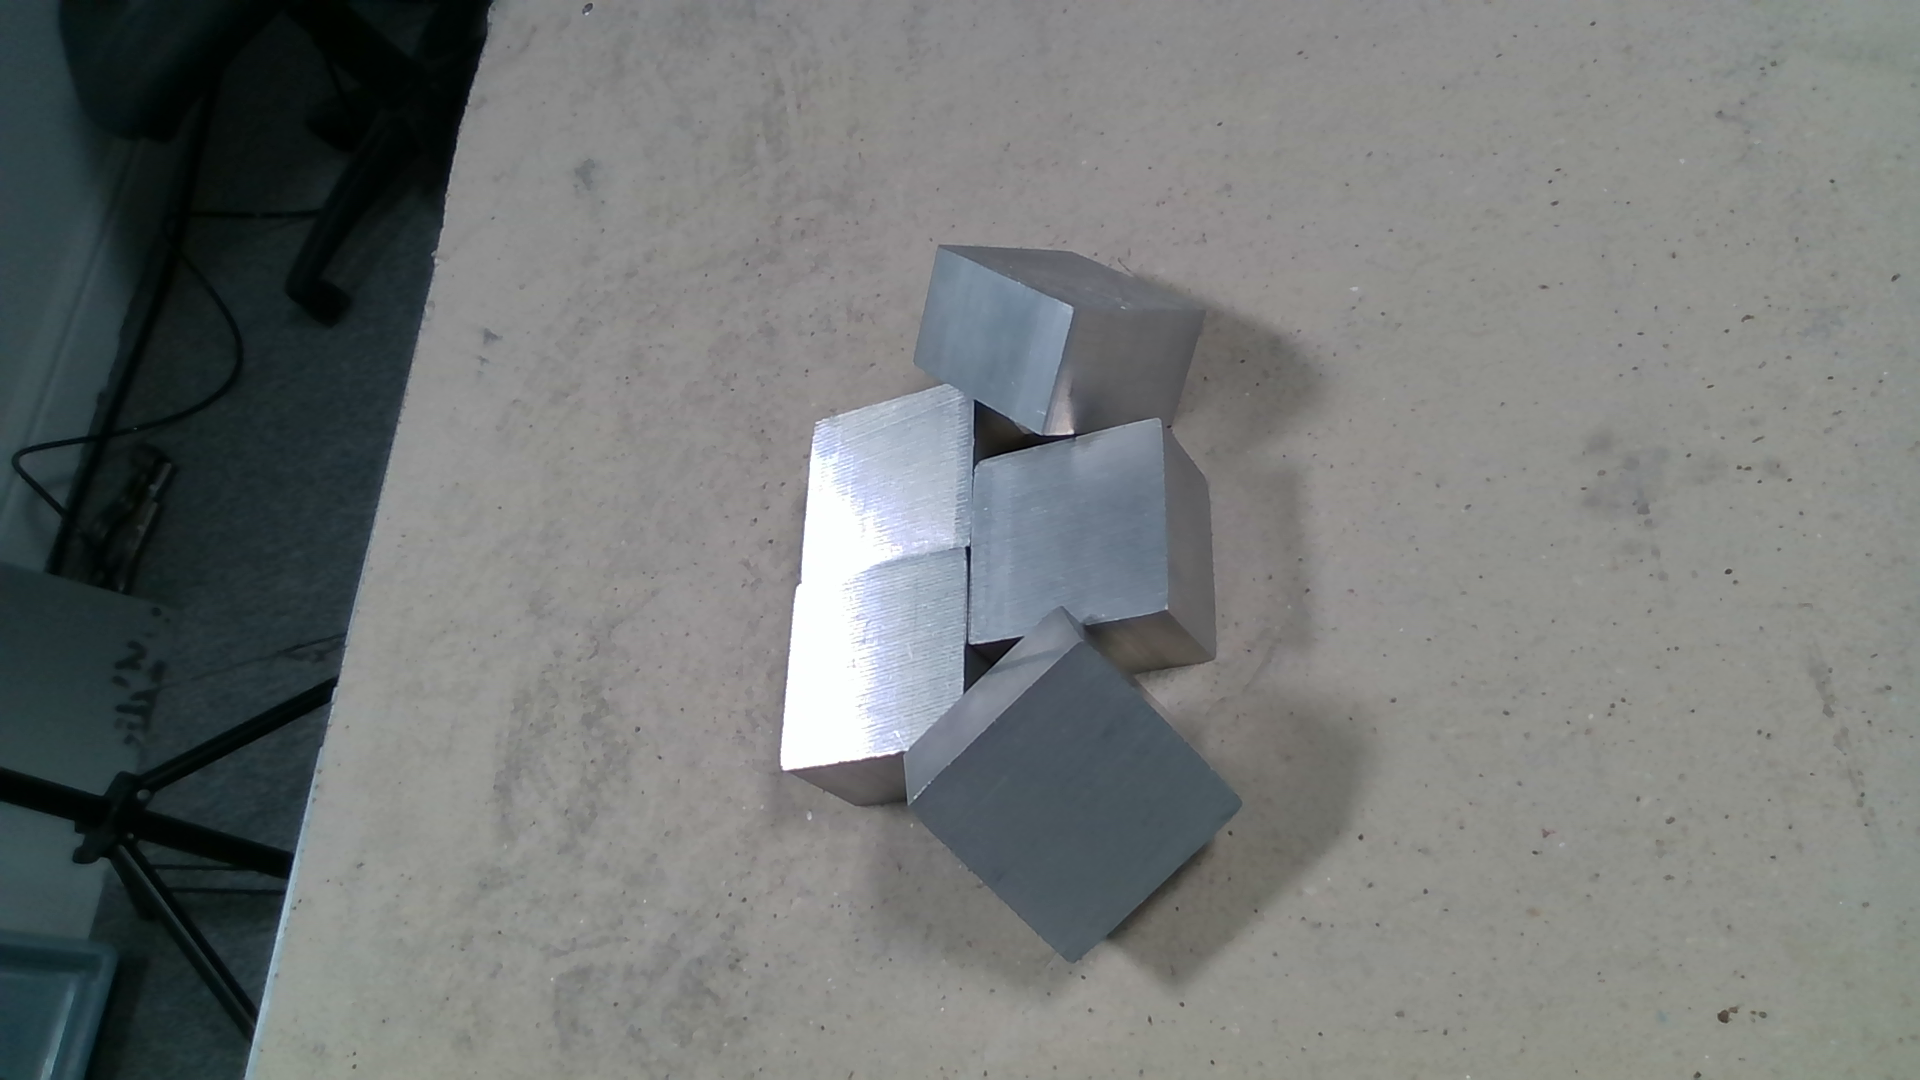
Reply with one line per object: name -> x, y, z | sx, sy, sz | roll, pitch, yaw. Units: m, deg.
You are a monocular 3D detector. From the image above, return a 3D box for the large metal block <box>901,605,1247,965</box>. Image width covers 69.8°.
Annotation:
large metal block -> 0.037, 0.082, 0.476 | 0.080, 0.080, 0.050 | -44, 11, 4

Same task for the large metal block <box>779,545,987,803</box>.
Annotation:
large metal block -> -0.022, 0.056, 0.551 | 0.080, 0.050, 0.080 | -13, 59, 26

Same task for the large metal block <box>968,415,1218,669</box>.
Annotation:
large metal block -> 0.052, 0.006, 0.534 | 0.080, 0.050, 0.080 | -12, 60, 26

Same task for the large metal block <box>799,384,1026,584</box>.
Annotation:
large metal block -> -0.019, -0.015, 0.588 | 0.080, 0.050, 0.080 | -13, 59, 26

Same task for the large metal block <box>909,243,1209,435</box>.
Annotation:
large metal block -> 0.040, -0.083, 0.561 | 0.080, 0.080, 0.050 | 34, 120, 39
